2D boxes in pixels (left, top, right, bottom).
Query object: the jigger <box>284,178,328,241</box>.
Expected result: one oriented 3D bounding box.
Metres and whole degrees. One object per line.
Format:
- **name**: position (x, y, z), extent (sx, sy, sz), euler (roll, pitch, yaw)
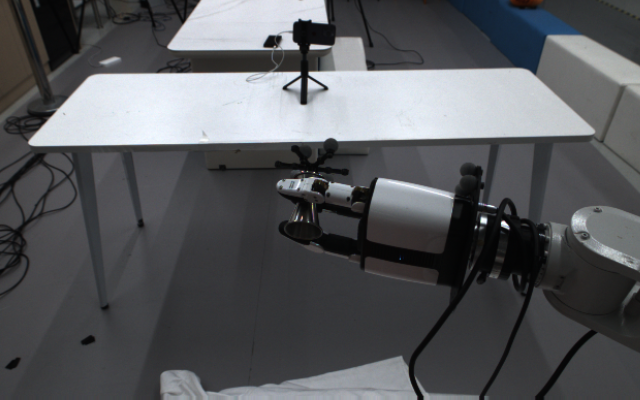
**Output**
- **jigger**: position (-0.018, 0.005, 0.558), extent (0.043, 0.043, 0.071), euler (5, 60, 5)
